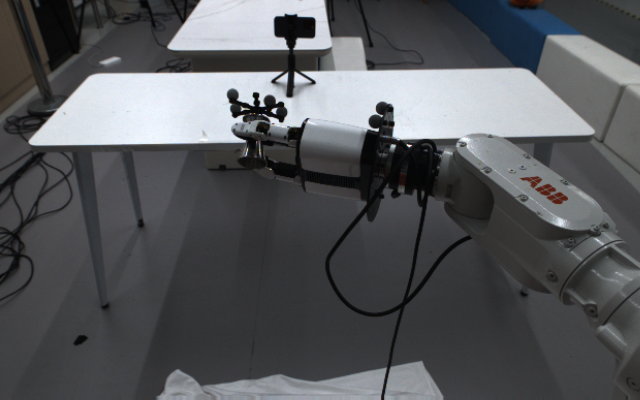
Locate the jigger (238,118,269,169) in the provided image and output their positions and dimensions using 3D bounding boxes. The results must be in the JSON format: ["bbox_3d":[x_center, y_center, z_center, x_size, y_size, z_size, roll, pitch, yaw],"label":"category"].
[{"bbox_3d":[-0.096,-0.085,0.690,0.043,0.043,0.071,3,72,1],"label":"jigger"}]
